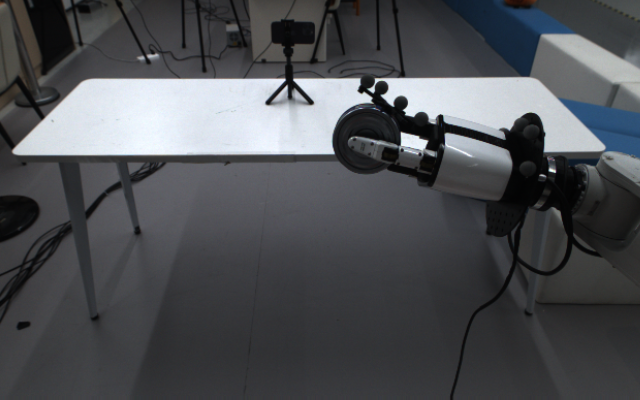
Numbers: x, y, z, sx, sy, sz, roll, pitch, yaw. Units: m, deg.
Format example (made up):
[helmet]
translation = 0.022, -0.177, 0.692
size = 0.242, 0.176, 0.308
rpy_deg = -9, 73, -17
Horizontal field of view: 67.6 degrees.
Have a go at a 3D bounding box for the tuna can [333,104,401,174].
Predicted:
[tuna can]
translation = 0.062, -0.070, 0.605
size = 0.085, 0.085, 0.034
rpy_deg = 6, 19, 6
